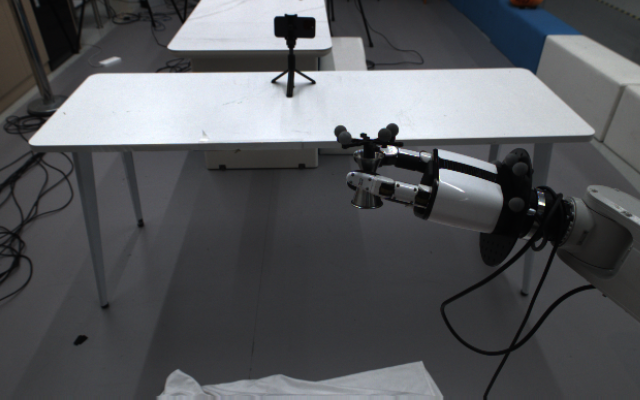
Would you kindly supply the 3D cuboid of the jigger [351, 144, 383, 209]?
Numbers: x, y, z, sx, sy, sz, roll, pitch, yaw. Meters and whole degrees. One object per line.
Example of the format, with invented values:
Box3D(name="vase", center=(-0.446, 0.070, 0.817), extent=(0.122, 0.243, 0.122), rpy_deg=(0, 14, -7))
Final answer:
Box3D(name="jigger", center=(0.063, -0.027, 0.643), extent=(0.043, 0.071, 0.043), rpy_deg=(0, 21, 0))
